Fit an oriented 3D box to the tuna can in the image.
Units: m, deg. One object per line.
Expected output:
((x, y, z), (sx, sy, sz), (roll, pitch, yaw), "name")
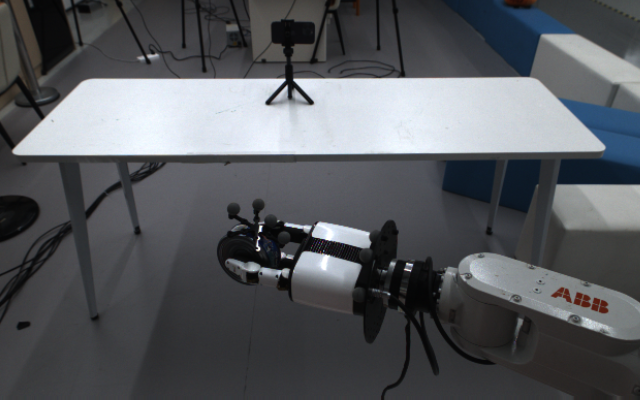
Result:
((-0.097, 0.083, 0.673), (0.085, 0.085, 0.034), (15, 30, 18), "tuna can")
